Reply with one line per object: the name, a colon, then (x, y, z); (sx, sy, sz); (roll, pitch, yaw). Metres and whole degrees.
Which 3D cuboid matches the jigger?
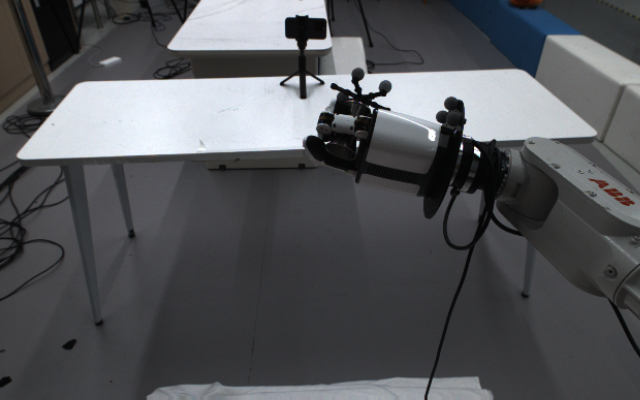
jigger: (0.040, -0.095, 0.643); (0.043, 0.043, 0.071); (15, 70, 18)
